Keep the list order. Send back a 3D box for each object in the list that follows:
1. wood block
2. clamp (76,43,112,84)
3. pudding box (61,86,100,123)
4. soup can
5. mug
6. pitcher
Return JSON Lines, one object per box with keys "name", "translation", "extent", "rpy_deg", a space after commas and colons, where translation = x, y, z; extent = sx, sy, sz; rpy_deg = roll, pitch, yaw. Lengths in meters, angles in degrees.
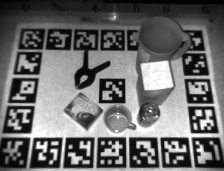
{"name": "wood block", "translation": [0.136, -0.016, 0.734], "extent": [0.090, 0.207, 0.090], "rpy_deg": [-2, 69, -3]}
{"name": "clamp", "translation": [-0.090, -0.079, 0.855], "extent": [0.122, 0.036, 0.165], "rpy_deg": [30, 73, 3]}
{"name": "pudding box", "translation": [-0.114, 0.070, 0.796], "extent": [0.113, 0.039, 0.090], "rpy_deg": [36, 77, 13]}
{"name": "soup can", "translation": [0.119, 0.086, 0.752], "extent": [0.068, 0.102, 0.068], "rpy_deg": [0, 72, 1]}
{"name": "mug", "translation": [0.026, 0.108, 0.757], "extent": [0.116, 0.082, 0.093], "rpy_deg": [35, 72, 13]}
{"name": "pitcher", "translation": [0.163, -0.135, 0.760], "extent": [0.188, 0.244, 0.133], "rpy_deg": [-1, 68, 4]}
